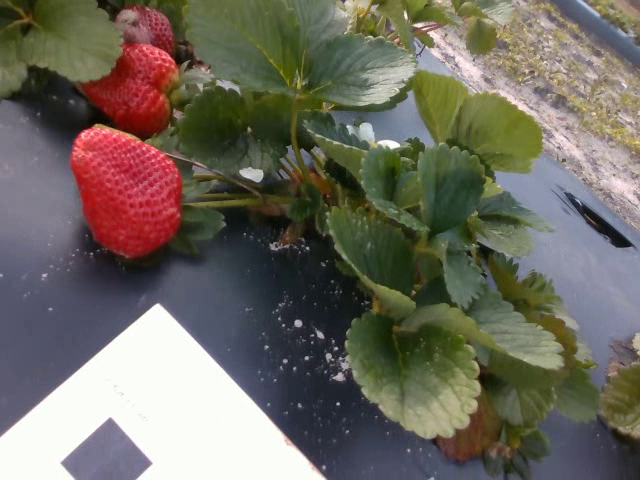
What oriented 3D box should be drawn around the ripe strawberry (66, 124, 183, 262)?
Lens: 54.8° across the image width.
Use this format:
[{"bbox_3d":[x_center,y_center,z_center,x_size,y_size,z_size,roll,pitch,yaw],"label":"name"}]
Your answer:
[{"bbox_3d":[-0.038,-0.011,0.114,0.022,0.025,0.030,19,-17,26],"label":"ripe strawberry"}]
